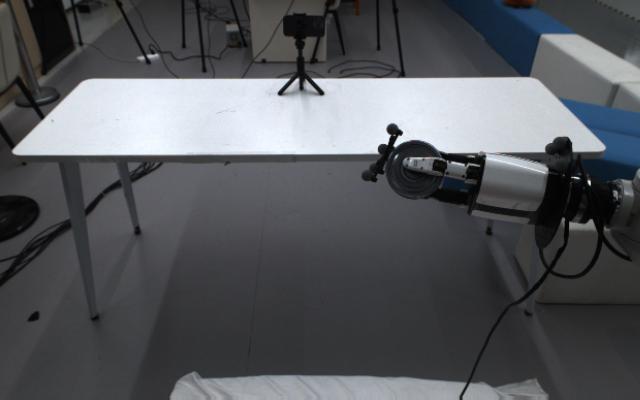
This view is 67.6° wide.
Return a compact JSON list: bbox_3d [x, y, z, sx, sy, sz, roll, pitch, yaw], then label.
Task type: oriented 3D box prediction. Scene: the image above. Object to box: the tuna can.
[{"bbox_3d":[0.142,-0.047,0.719,0.085,0.085,0.034,9,-5,9],"label":"tuna can"}]
